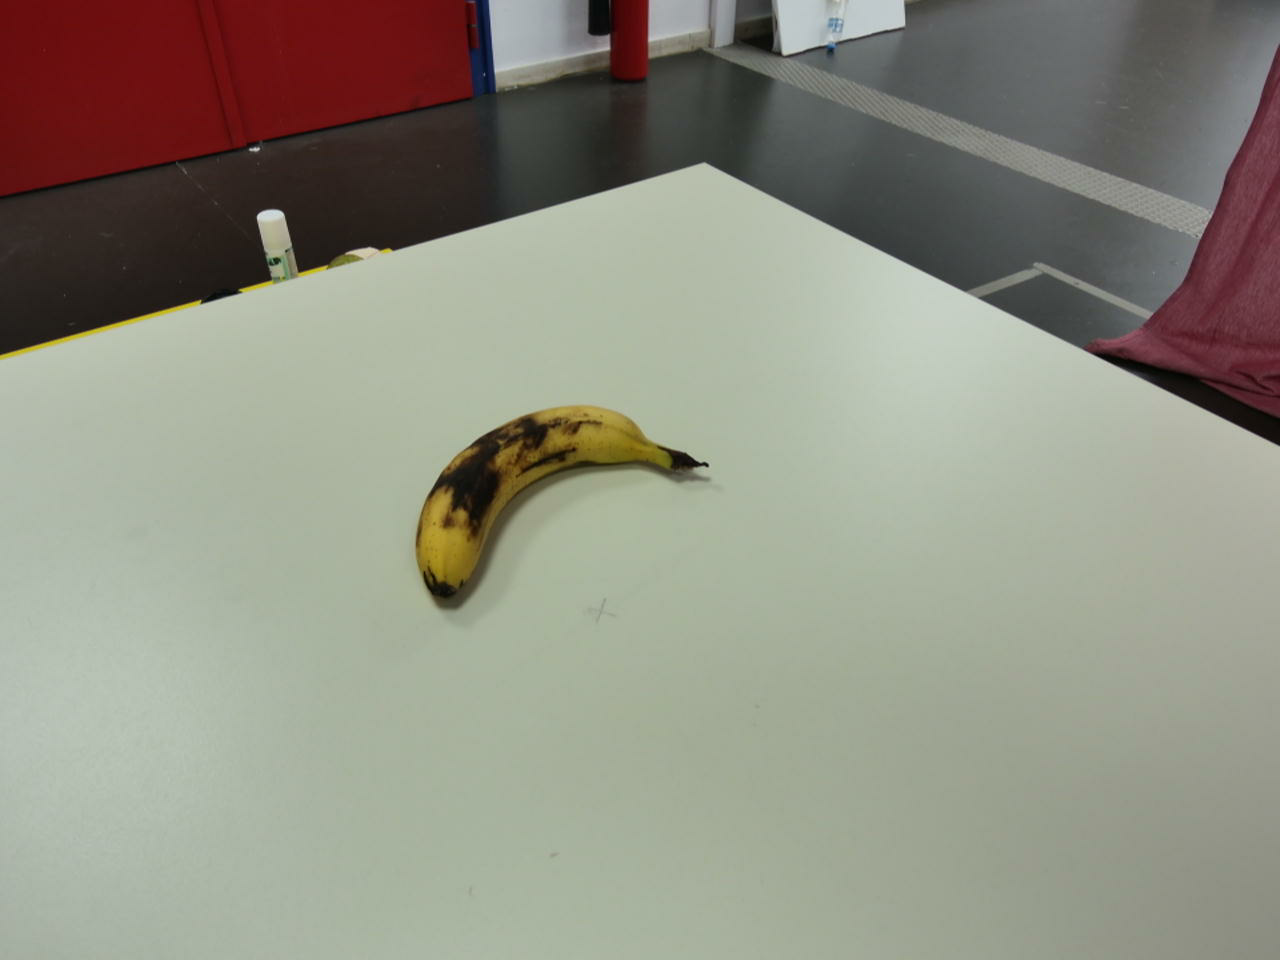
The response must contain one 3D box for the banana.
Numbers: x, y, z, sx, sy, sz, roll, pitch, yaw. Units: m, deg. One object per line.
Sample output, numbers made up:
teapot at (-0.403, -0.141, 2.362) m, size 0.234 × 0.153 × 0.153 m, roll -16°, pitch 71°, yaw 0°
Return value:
banana at (-0.061, -0.001, 0.590) m, size 0.187 × 0.039 × 0.094 m, roll -25°, pitch 45°, yaw -30°
